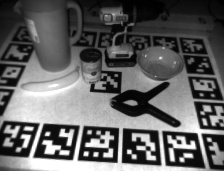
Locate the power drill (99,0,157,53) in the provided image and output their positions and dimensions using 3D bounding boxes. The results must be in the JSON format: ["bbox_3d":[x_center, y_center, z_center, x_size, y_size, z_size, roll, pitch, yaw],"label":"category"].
[{"bbox_3d":[0.047,-0.195,0.730,0.185,0.188,0.057,-1,51,-3],"label":"power drill"}]

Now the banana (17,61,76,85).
[{"bbox_3d":[-0.205,-0.035,0.710,0.199,0.039,0.073,-16,45,-17],"label":"banana"}]

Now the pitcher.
[{"bbox_3d":[-0.193,-0.187,0.700,0.190,0.244,0.132,-16,50,-14],"label":"pitcher"}]

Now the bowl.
[{"bbox_3d":[0.151,-0.090,0.759,0.162,0.055,0.161,1,52,-1],"label":"bowl"}]

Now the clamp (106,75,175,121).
[{"bbox_3d":[0.081,0.030,0.661,0.203,0.037,0.164,2,55,-2],"label":"clamp"}]

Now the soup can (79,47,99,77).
[{"bbox_3d":[-0.078,-0.087,0.716,0.068,0.102,0.067,1,42,0],"label":"soup can"}]
